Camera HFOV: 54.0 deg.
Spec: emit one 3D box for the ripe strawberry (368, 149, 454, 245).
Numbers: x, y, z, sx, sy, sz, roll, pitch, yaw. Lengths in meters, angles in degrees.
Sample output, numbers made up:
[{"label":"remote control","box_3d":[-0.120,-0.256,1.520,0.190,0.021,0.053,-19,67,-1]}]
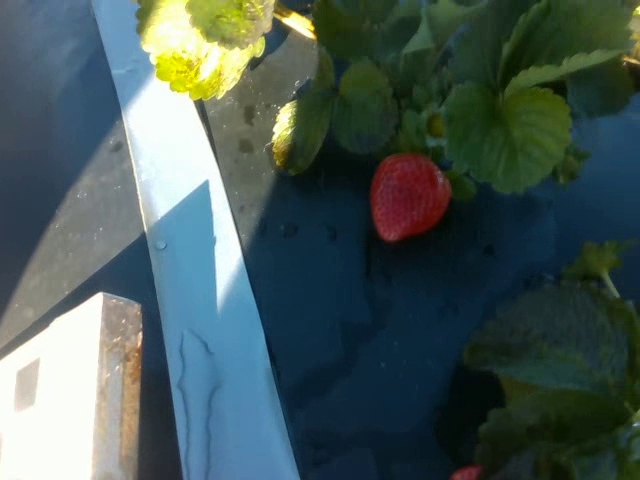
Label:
[{"label":"ripe strawberry","box_3d":[0.042,-0.019,0.298,0.046,0.058,0.042,0,-37,44]}]
